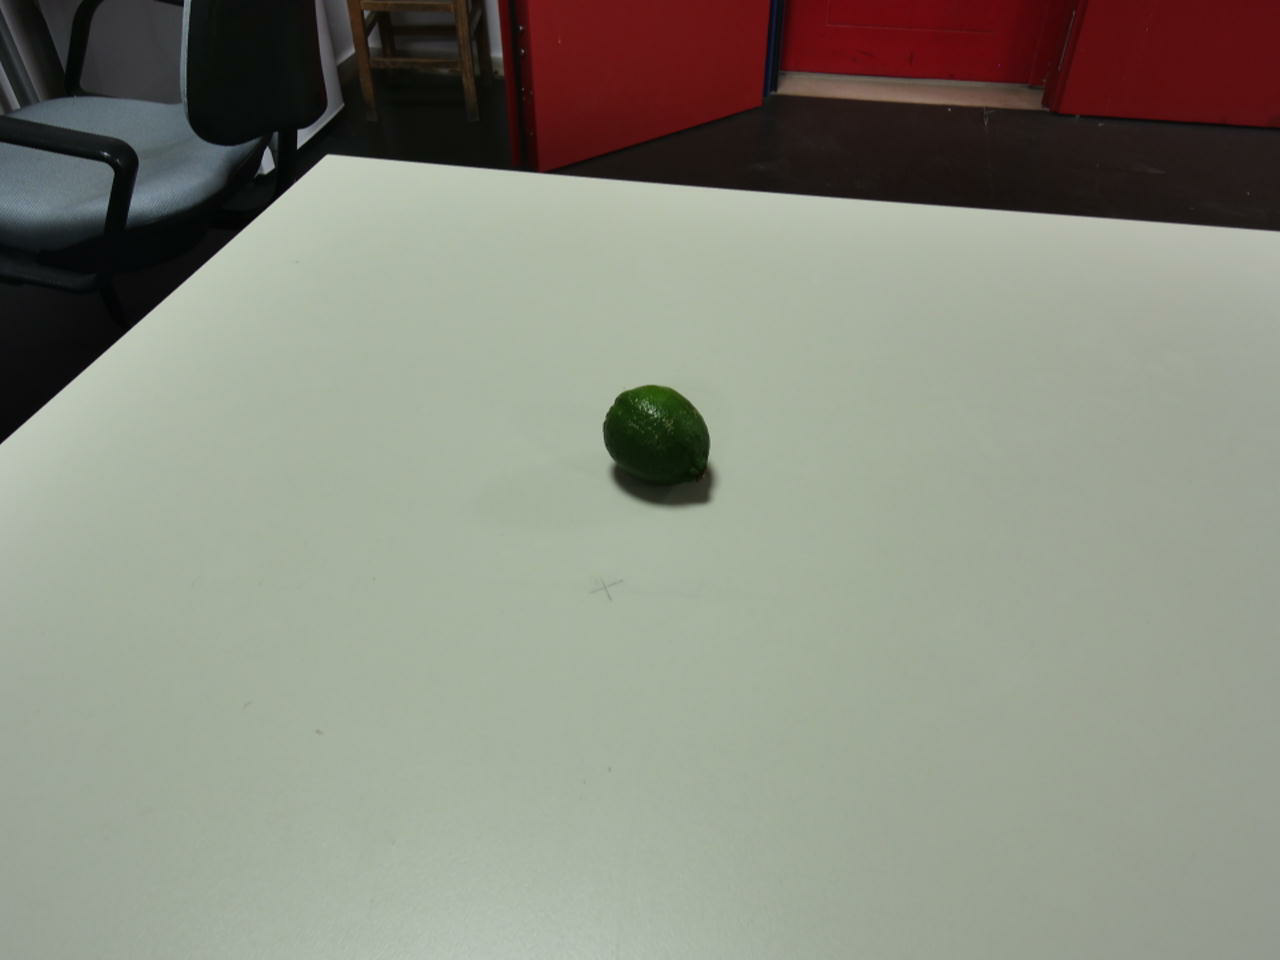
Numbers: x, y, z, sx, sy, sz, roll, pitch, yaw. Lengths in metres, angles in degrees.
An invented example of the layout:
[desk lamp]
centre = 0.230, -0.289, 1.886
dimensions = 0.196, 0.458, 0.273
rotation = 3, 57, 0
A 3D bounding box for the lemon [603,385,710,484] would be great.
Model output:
[lemon]
centre = 0.009, -0.025, 0.535
dimensions = 0.057, 0.051, 0.054
rotation = 5, 39, 7
